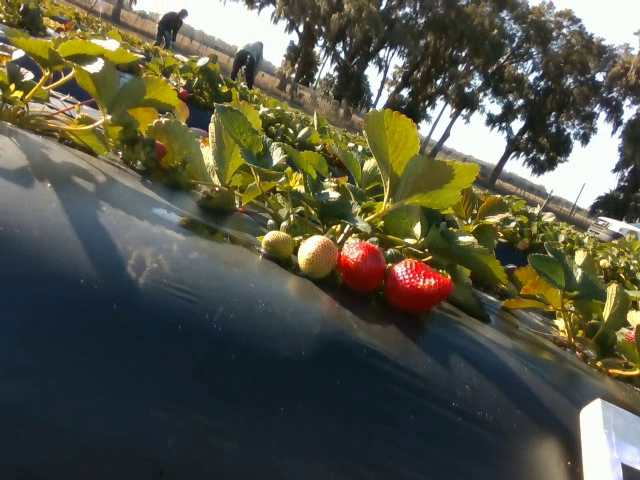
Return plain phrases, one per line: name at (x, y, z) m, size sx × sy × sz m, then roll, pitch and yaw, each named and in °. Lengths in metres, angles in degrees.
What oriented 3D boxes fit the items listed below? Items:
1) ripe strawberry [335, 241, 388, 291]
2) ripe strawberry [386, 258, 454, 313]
ripe strawberry at (0.032, 0.018, 0.468) m, size 0.051 × 0.043 × 0.061 m, roll 44°, pitch 1°, yaw 11°
ripe strawberry at (0.083, 0.037, 0.470) m, size 0.057 × 0.051 × 0.067 m, roll -17°, pitch 7°, yaw -37°
